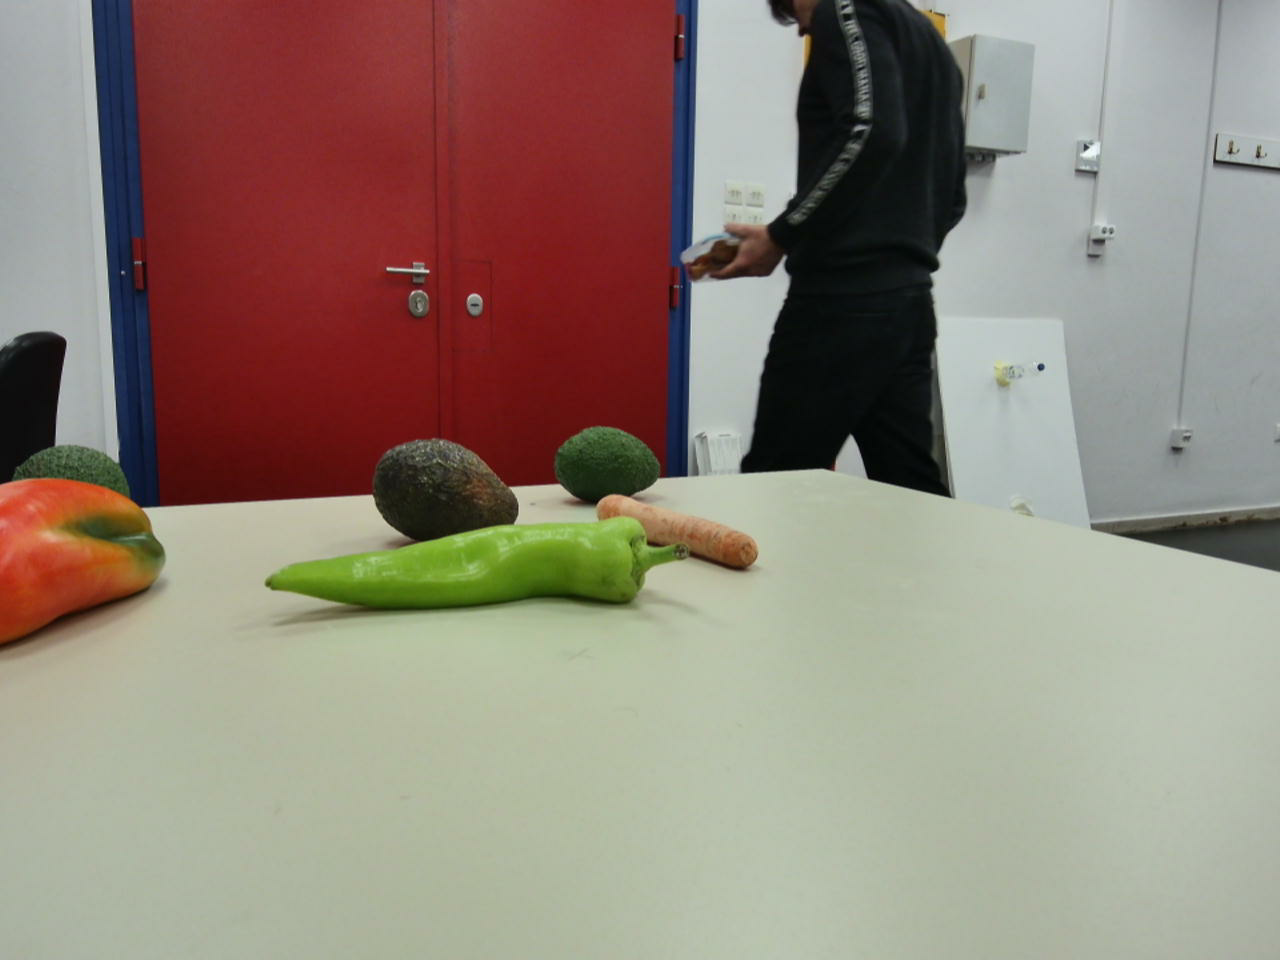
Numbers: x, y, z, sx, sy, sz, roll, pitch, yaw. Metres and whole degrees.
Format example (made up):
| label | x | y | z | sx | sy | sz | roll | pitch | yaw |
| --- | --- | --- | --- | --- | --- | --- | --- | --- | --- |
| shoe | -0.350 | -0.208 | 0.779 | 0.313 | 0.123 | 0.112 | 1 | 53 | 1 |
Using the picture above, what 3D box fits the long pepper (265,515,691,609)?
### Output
| label | x | y | z | sx | sy | sz | roll | pitch | yaw |
| --- | --- | --- | --- | --- | --- | --- | --- | --- | --- |
| long pepper | -0.080 | 0.044 | 0.518 | 0.204 | 0.045 | 0.065 | -1 | 7 | -9 |
